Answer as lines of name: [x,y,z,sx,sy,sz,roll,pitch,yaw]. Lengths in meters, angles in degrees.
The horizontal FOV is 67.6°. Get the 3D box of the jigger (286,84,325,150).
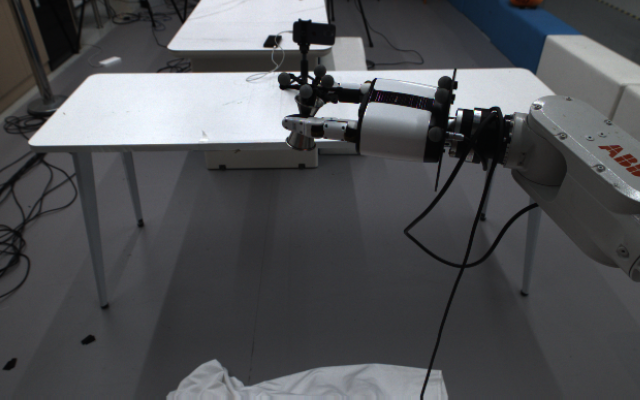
jigger: [-0.021,-0.108,0.670,0.043,0.071,0.043,10,36,-7]
